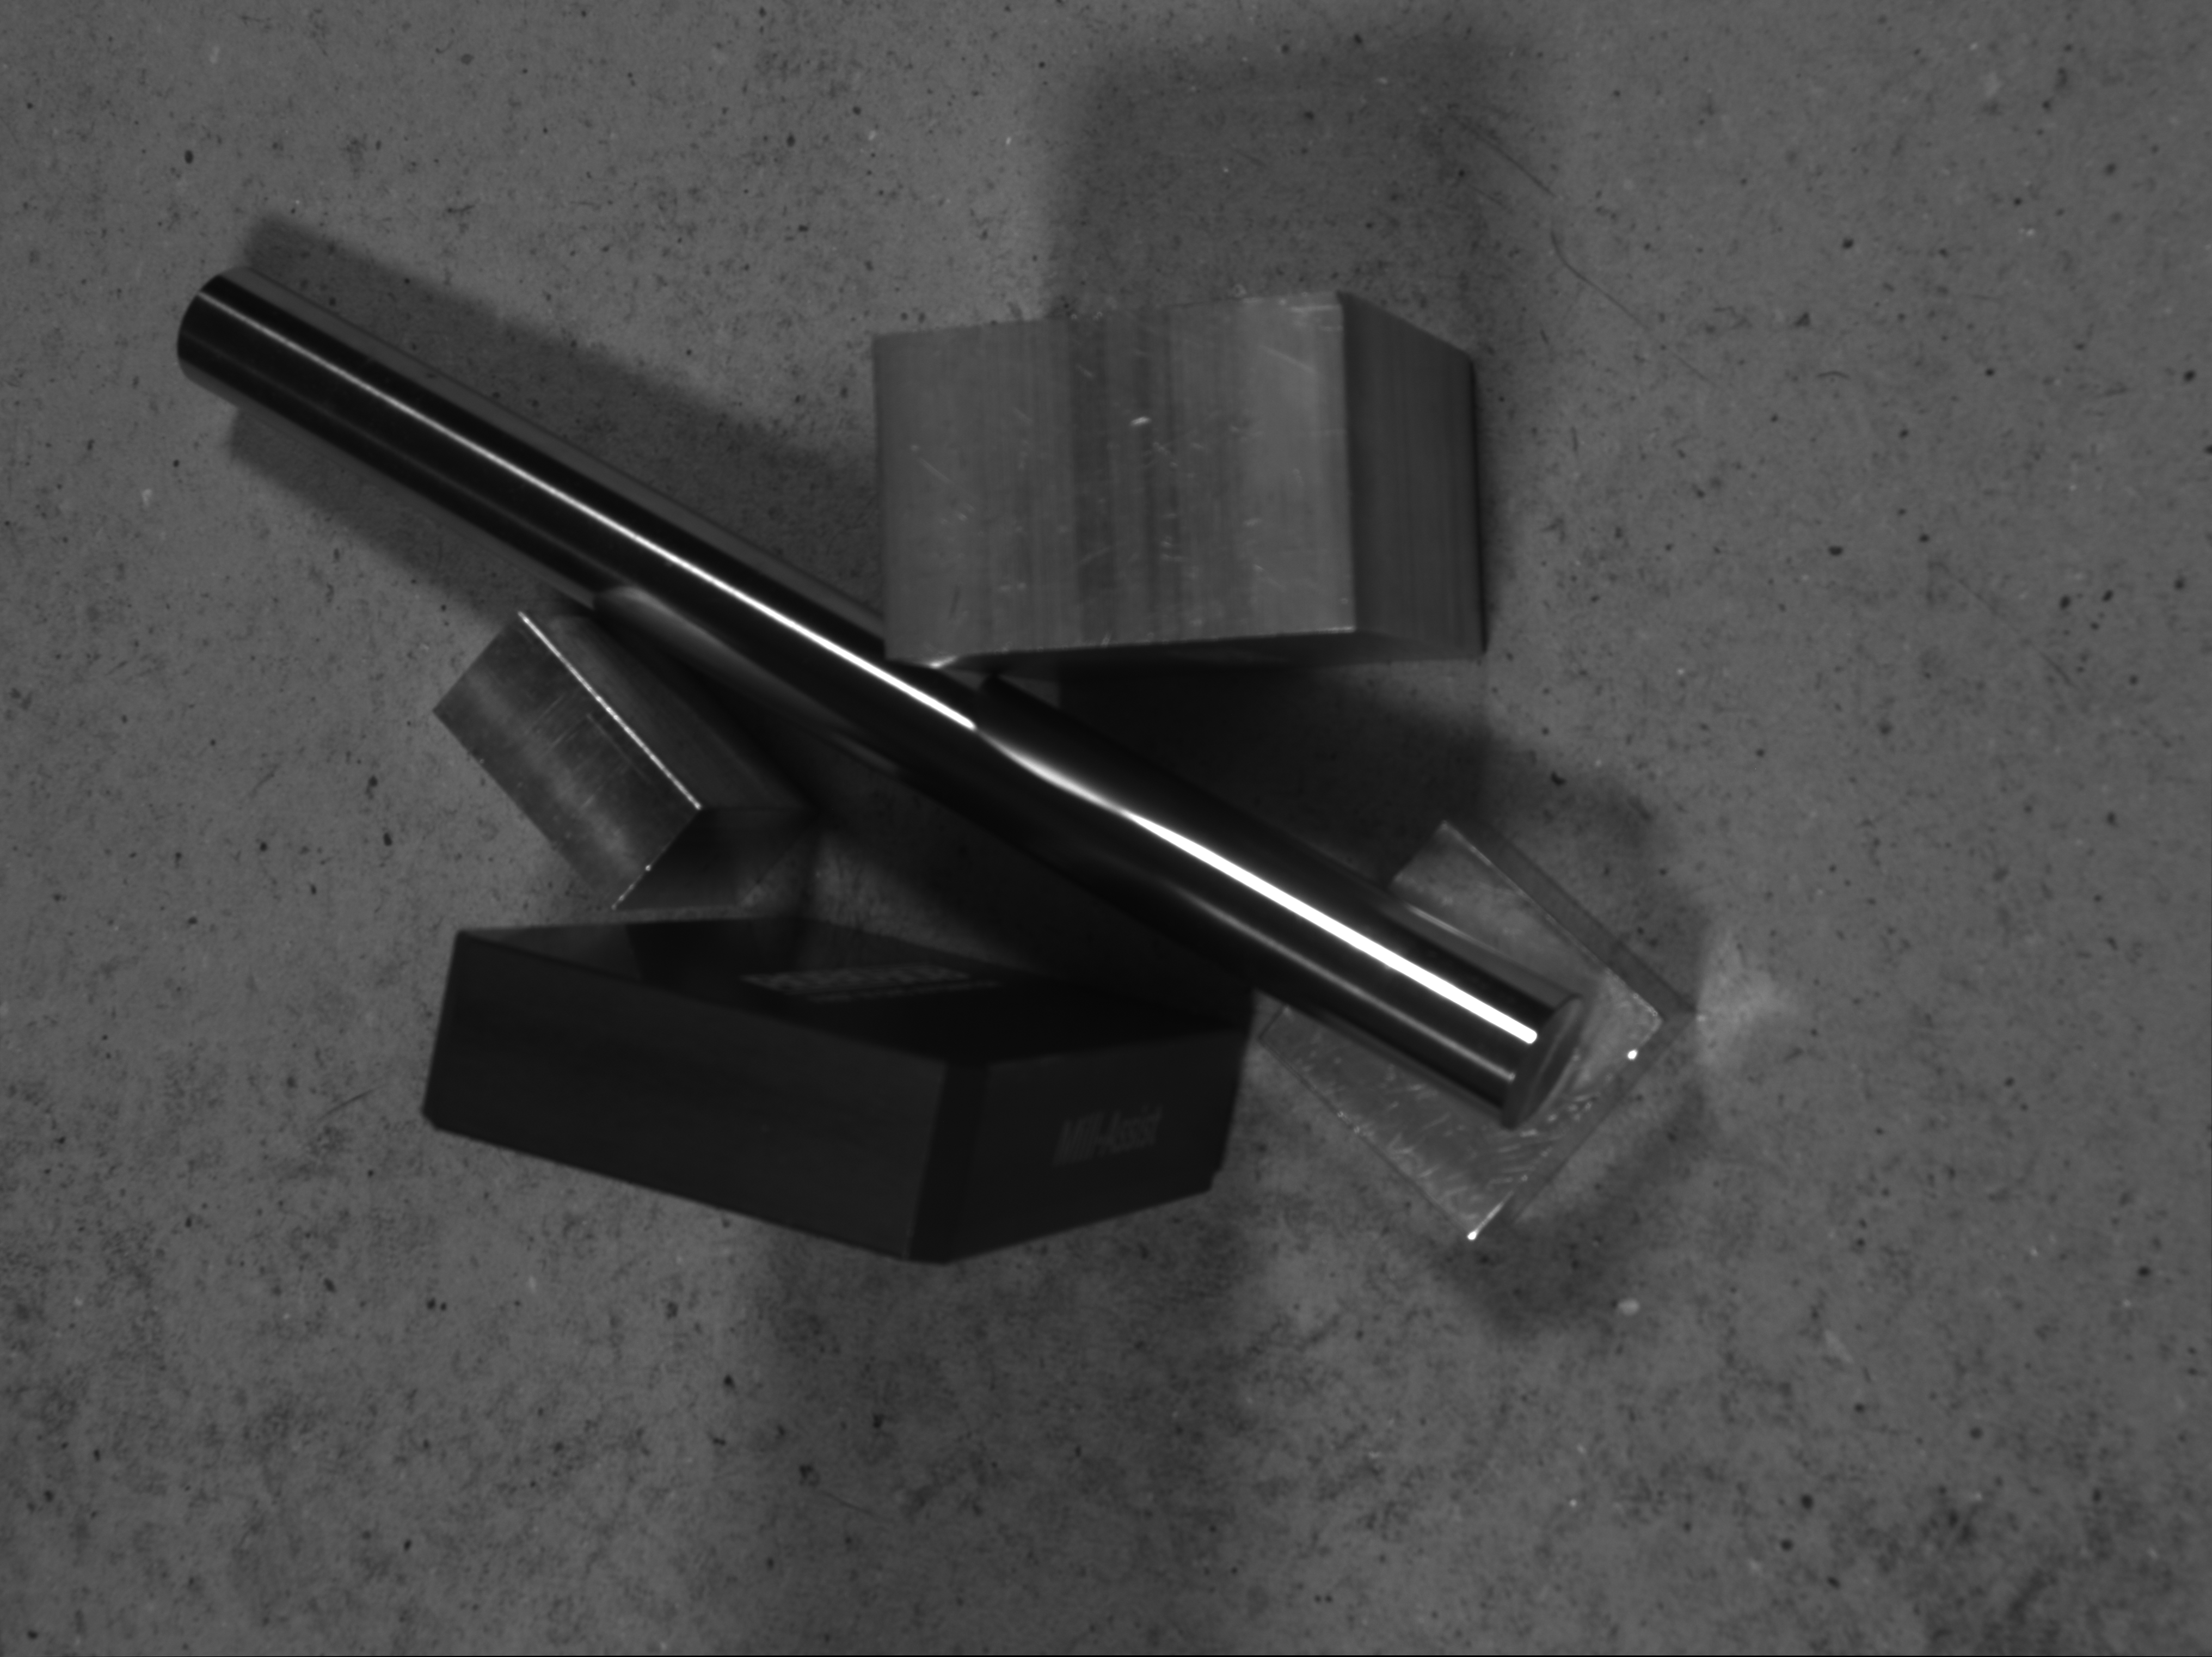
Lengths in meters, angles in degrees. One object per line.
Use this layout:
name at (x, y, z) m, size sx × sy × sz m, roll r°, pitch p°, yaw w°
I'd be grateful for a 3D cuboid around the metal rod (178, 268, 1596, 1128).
metal rod at (-0.049, -0.030, 0.647) m, size 0.299 × 0.025 × 0.025 m, roll 29°, pitch 99°, yaw 23°

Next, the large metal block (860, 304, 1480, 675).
large metal block at (0.013, -0.053, 0.610) m, size 0.080 × 0.080 × 0.050 m, roll -2°, pitch 89°, yaw 20°

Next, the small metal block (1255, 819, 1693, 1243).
small metal block at (0.063, 0.034, 0.623) m, size 0.050 × 0.025 × 0.050 m, roll 43°, pitch 103°, yaw 15°

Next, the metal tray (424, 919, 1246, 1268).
metal tray at (-0.040, 0.040, 0.603) m, size 0.090 × 0.130 × 0.030 m, roll 13°, pitch 94°, yaw 20°

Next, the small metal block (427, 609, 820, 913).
small metal block at (-0.086, -0.012, 0.661) m, size 0.050 × 0.050 × 0.025 m, roll 46°, pitch 104°, yaw 14°
